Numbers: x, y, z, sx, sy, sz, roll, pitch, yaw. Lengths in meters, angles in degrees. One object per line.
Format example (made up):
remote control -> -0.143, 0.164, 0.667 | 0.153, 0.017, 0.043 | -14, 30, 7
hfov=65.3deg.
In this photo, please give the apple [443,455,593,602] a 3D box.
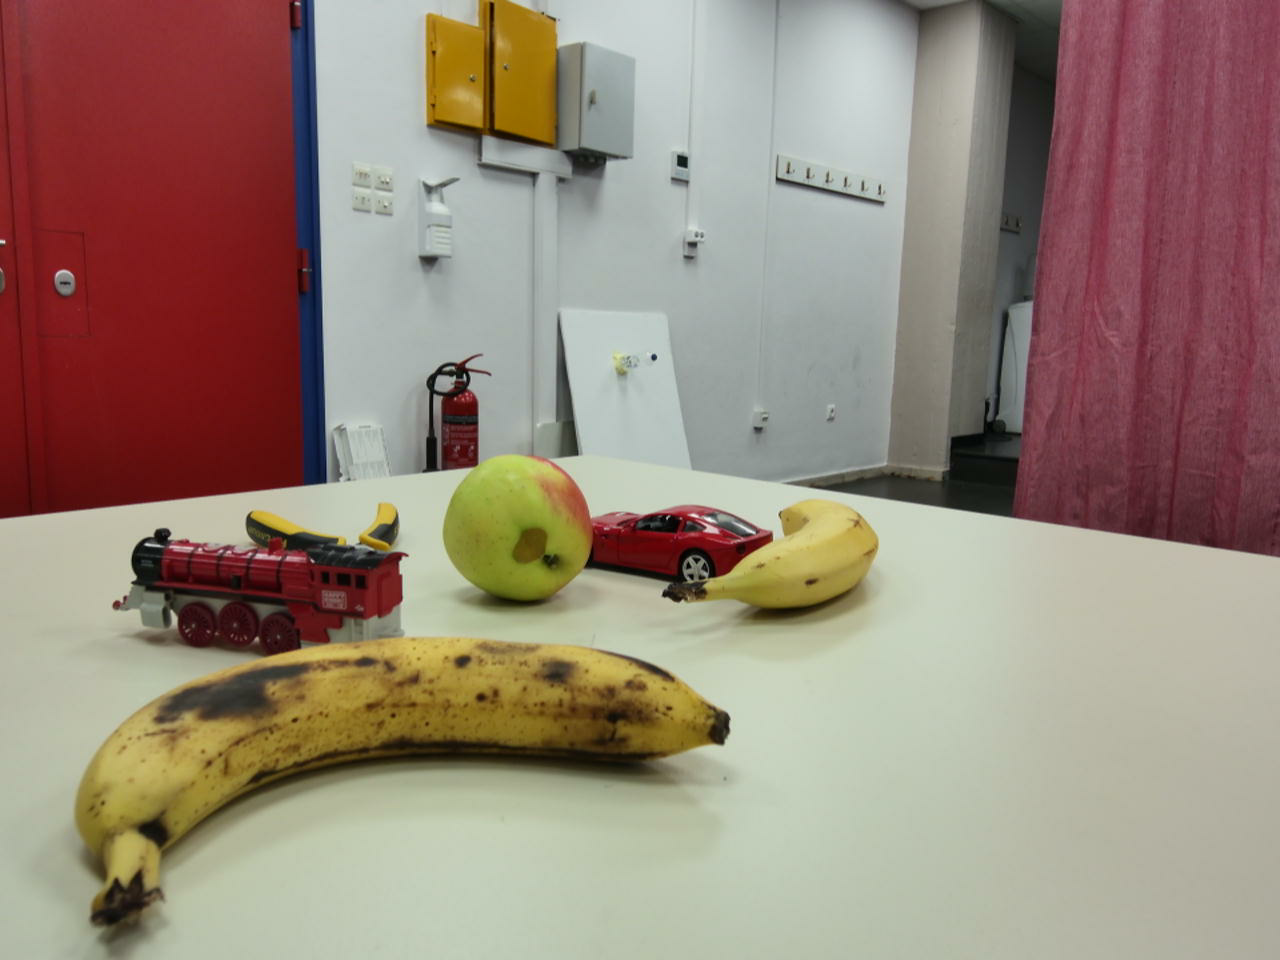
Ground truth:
apple -> -0.062, 0.024, 0.519 | 0.075, 0.074, 0.075 | 3, 7, 22
